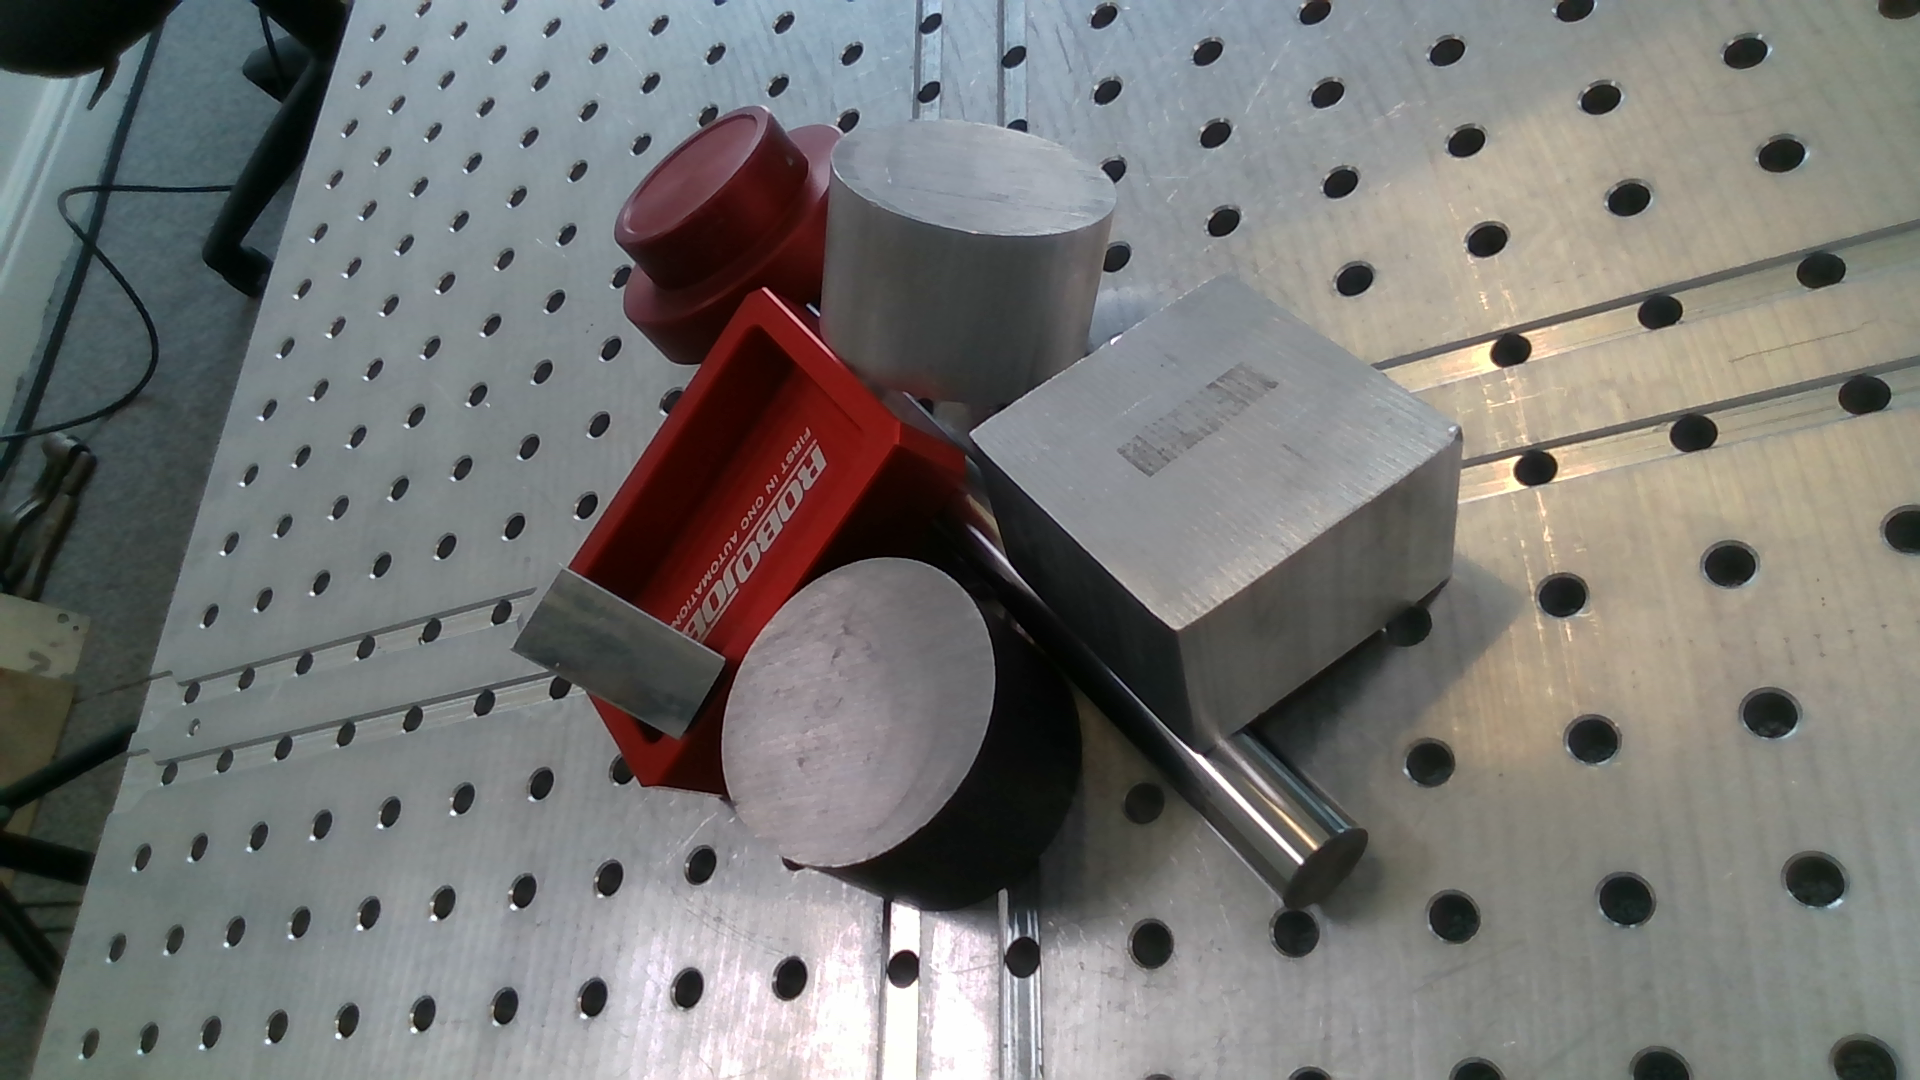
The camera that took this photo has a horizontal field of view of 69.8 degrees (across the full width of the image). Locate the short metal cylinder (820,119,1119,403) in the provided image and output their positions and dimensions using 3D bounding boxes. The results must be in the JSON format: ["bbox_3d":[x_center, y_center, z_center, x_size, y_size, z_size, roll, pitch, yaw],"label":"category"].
[{"bbox_3d":[0.001,-0.082,0.396,0.080,0.050,0.080,6,36,-4],"label":"short metal cylinder"}]

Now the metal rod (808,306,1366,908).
[{"bbox_3d":[0.001,-0.010,0.403,0.025,0.025,0.299,-46,50,2],"label":"metal rod"}]

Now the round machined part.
[{"bbox_3d":[-0.079,-0.111,0.476,0.098,0.042,0.098,-25,38,22],"label":"round machined part"}]

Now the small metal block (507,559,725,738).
[{"bbox_3d":[-0.098,0.029,0.387,0.025,0.050,0.050,-61,17,-7],"label":"small metal block"}]

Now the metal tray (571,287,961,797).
[{"bbox_3d":[-0.067,0.001,0.415,0.130,0.030,0.090,-54,50,12],"label":"metal tray"}]

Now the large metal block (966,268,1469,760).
[{"bbox_3d":[0.061,-0.009,0.332,0.080,0.050,0.080,-33,50,-12],"label":"large metal block"}]

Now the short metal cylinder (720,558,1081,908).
[{"bbox_3d":[-0.015,0.051,0.361,0.080,0.050,0.080,-14,59,25],"label":"short metal cylinder"}]
